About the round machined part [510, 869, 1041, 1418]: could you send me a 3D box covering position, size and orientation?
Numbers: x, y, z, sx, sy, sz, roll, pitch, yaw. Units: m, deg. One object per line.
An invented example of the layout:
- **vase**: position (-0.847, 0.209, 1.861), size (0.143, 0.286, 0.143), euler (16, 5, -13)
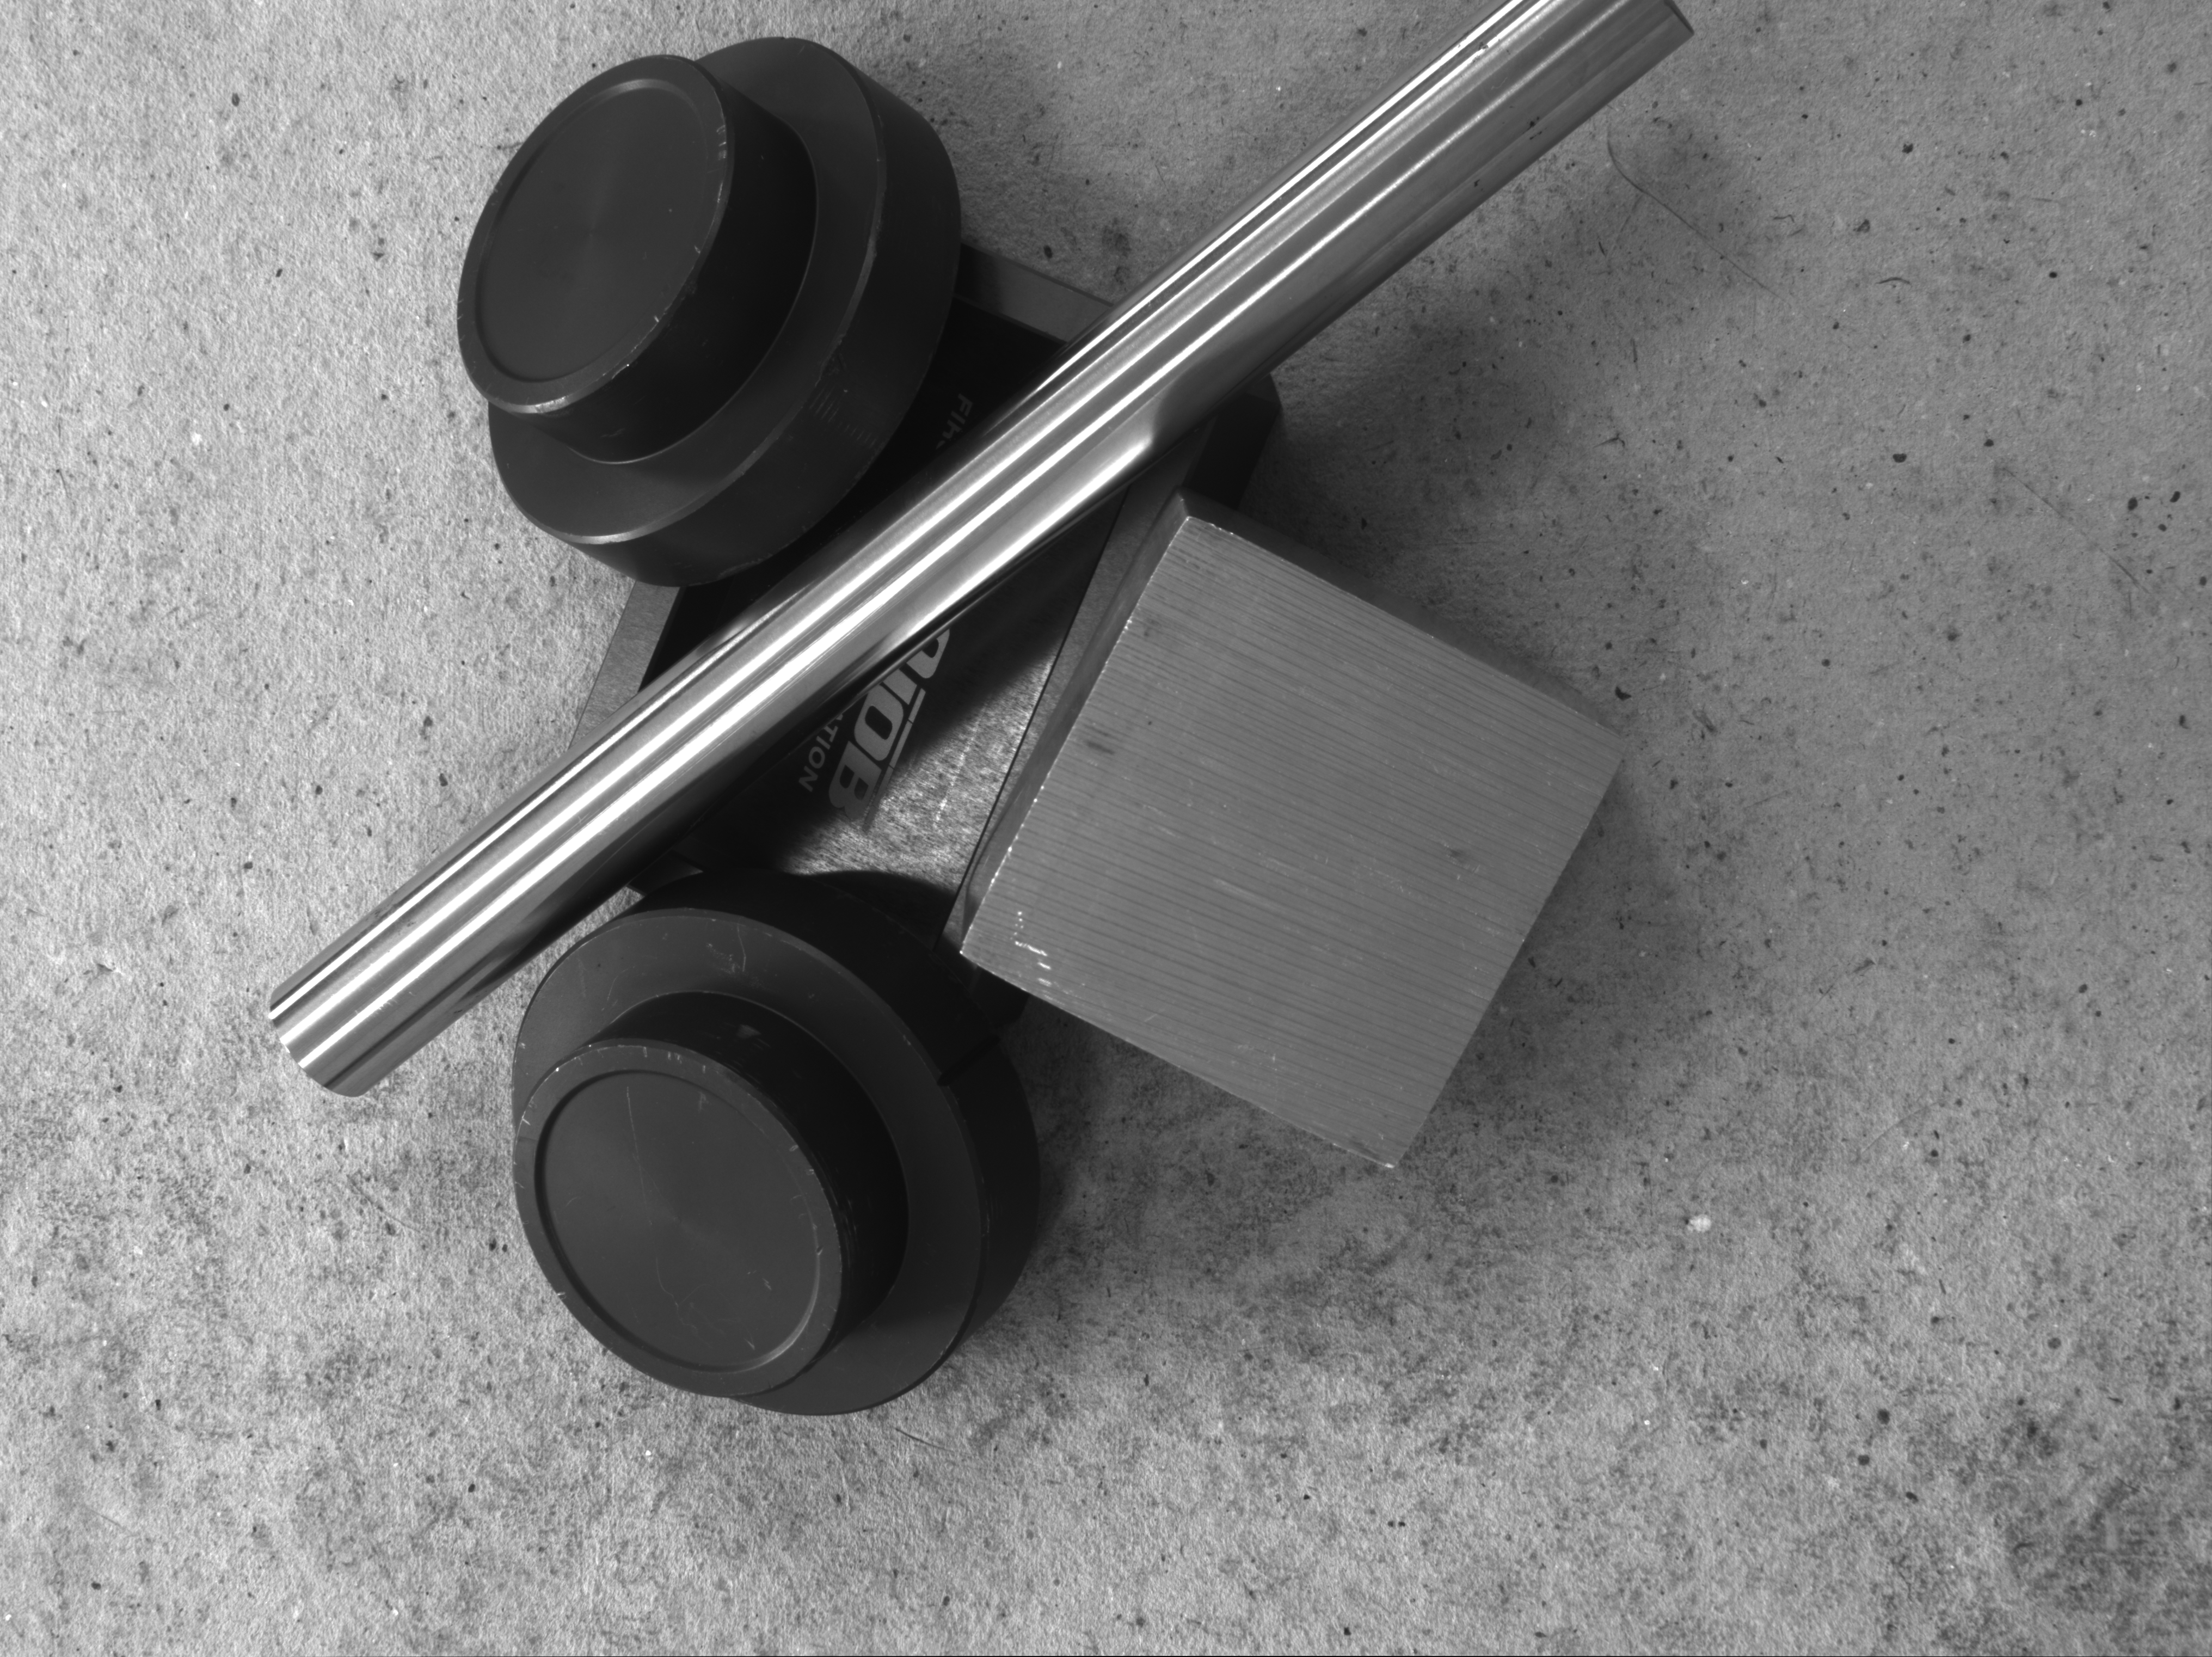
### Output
- **round machined part**: position (-0.064, 0.060, 0.643), size (0.098, 0.042, 0.098), euler (10, 115, 24)

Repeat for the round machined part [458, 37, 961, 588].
- **round machined part**: position (-0.075, -0.095, 0.644), size (0.098, 0.042, 0.098), euler (-19, 58, 35)

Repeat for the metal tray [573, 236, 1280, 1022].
- **metal tray**: position (-0.036, -0.039, 0.657), size (0.090, 0.030, 0.130), euler (26, 99, 18)

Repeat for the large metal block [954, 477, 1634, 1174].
- **large metal block**: position (0.029, -0.002, 0.608), size (0.080, 0.050, 0.080), euler (27, 99, -6)

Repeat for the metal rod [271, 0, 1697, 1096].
- **metal rod**: position (-0.028, -0.049, 0.626), size (0.300, 0.025, 0.025), euler (-37, 78, 16)
